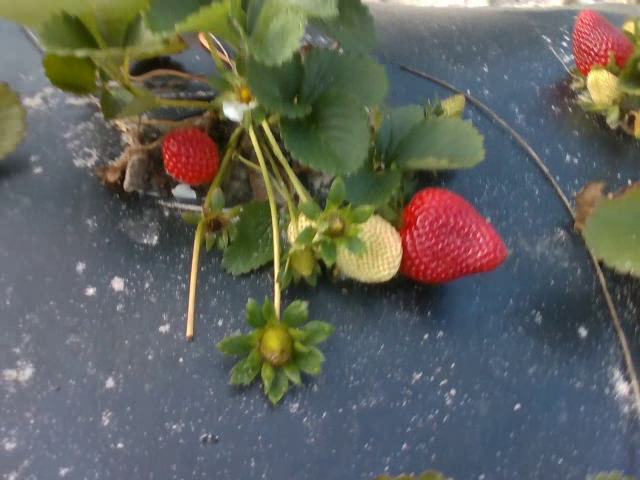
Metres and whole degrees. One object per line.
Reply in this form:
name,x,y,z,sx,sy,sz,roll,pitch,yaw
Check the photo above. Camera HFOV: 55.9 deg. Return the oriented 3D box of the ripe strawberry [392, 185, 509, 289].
ripe strawberry,0.068,0.003,0.304,0.055,0.051,0.048,29,4,41
